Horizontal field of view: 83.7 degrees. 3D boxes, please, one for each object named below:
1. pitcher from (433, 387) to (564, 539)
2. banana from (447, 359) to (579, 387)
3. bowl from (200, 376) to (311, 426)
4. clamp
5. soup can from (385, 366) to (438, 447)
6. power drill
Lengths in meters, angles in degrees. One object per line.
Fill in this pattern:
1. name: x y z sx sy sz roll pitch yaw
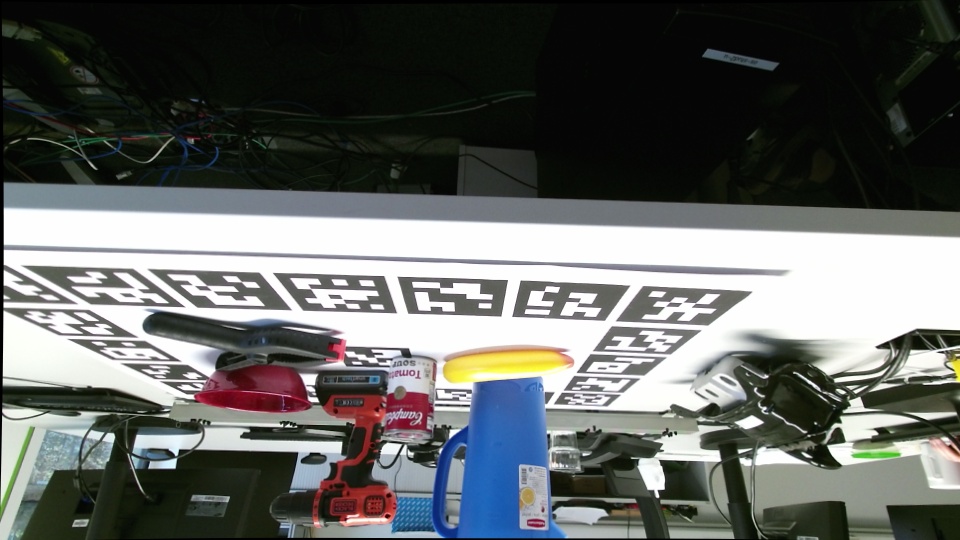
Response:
1. pitcher: 0.025 0.283 0.759 0.189 0.241 0.133 -10 153 20
2. banana: 0.035 0.139 0.709 0.198 0.038 0.074 -9 159 21
3. bowl: -0.321 0.180 0.771 0.162 0.055 0.162 0 150 0
4. clamp: -0.255 0.105 0.635 0.203 0.036 0.165 1 148 0
5. soup can: -0.092 0.188 0.734 0.068 0.101 0.068 1 160 0
6. power drill: -0.215 0.284 0.787 0.185 0.186 0.057 0 152 3
